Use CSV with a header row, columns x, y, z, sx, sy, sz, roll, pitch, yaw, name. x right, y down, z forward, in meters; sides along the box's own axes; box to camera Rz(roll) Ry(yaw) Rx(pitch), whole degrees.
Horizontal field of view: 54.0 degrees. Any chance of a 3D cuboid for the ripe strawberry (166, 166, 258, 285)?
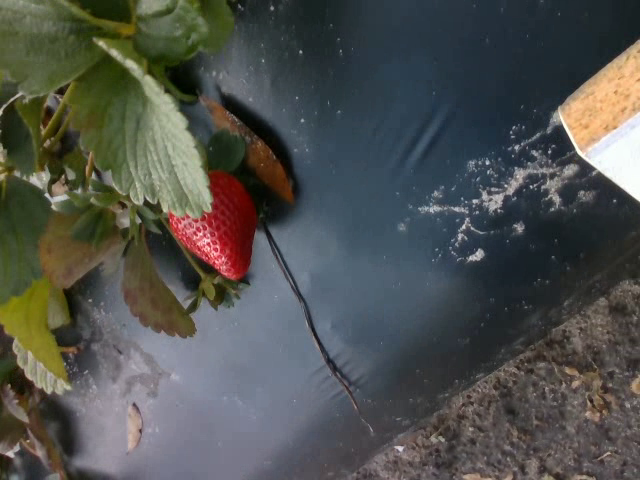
x,y,z,sx,sy,sz,roll,pitch,yaw,name
-0.046,-0.002,0.290,0.049,0.053,0.050,2,-38,-40,ripe strawberry
